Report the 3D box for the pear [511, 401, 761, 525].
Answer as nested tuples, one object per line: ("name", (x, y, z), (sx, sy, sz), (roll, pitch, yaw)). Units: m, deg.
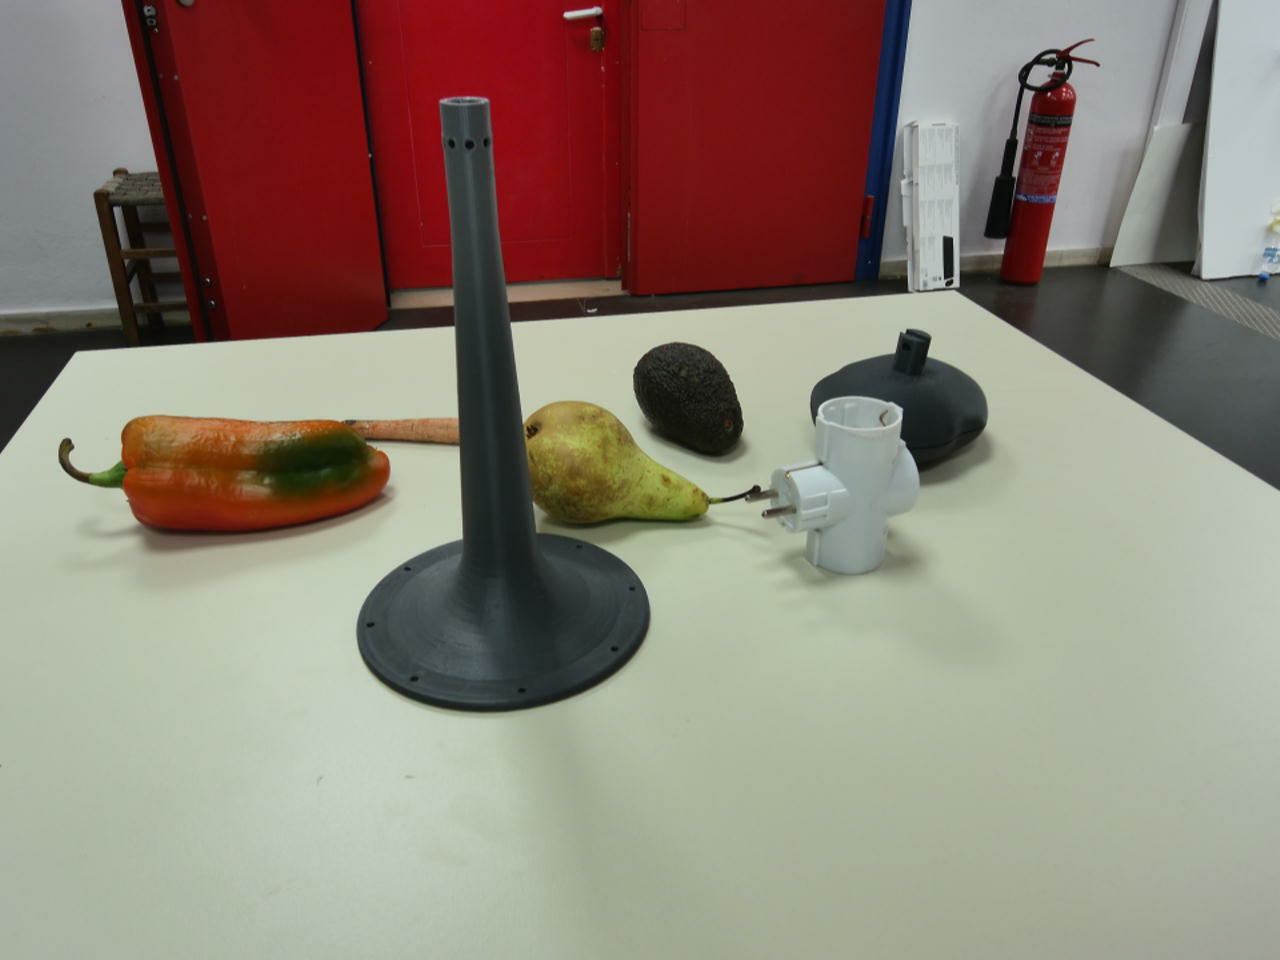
("pear", (-0.004, -0.013, 0.606), (0.144, 0.075, 0.071), (-2, 27, -5))
